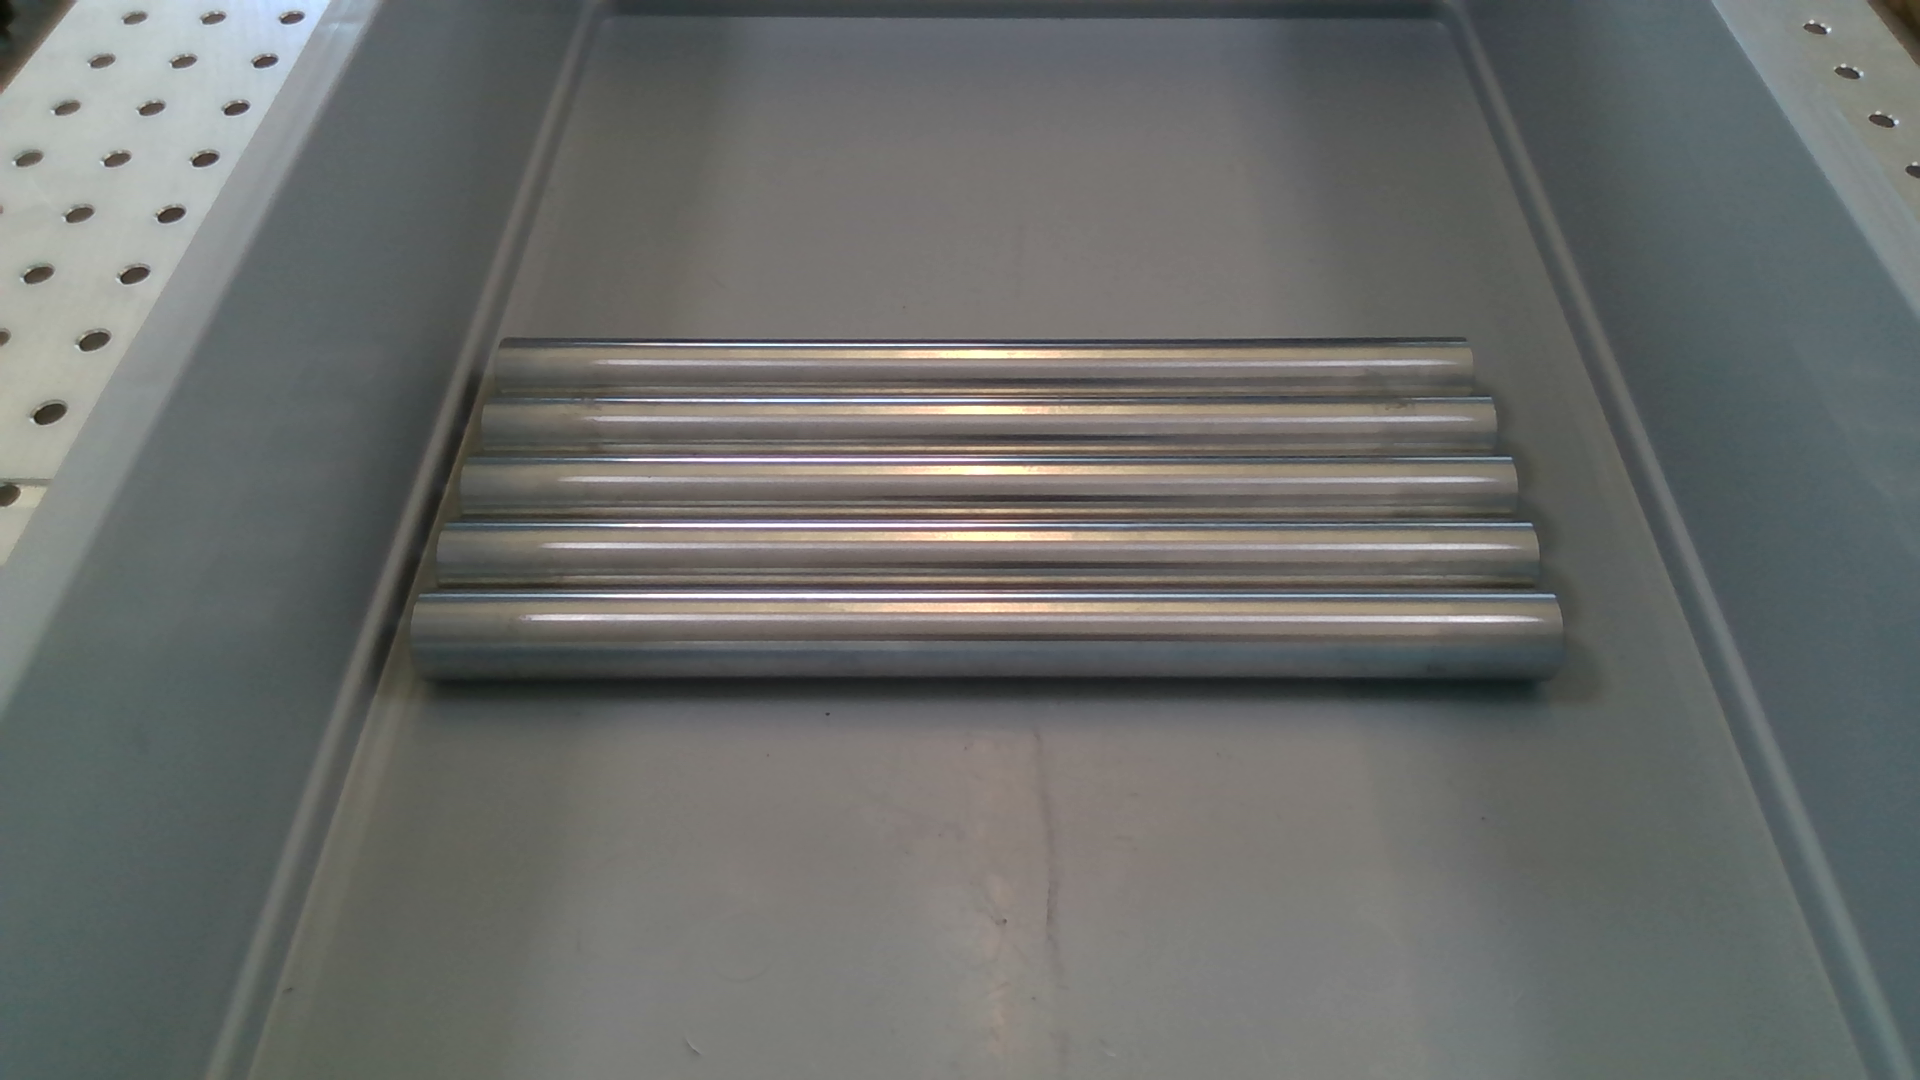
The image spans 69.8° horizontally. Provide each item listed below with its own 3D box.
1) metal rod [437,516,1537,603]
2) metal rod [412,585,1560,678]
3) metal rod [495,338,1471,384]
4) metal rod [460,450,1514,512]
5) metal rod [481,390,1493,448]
[{"bbox_3d":[0.007,0.006,0.388,0.300,0.025,0.025,0,50,0],"label":"metal rod"},{"bbox_3d":[0.007,0.025,0.372,0.300,0.025,0.025,0,50,0],"label":"metal rod"},{"bbox_3d":[0.007,-0.052,0.436,0.300,0.025,0.025,0,50,0],"label":"metal rod"},{"bbox_3d":[0.008,-0.014,0.404,0.300,0.025,0.025,0,50,0],"label":"metal rod"},{"bbox_3d":[0.008,-0.033,0.421,0.300,0.025,0.025,0,50,0],"label":"metal rod"}]
